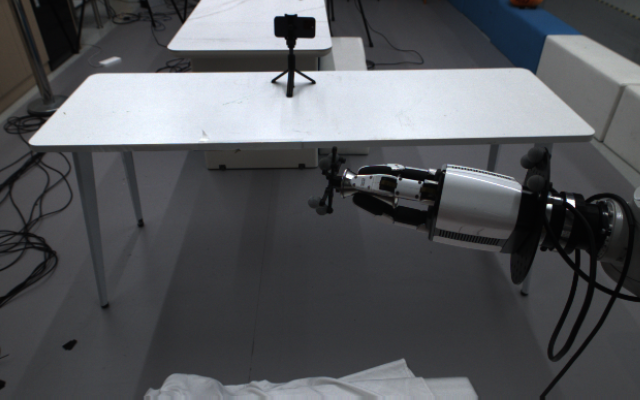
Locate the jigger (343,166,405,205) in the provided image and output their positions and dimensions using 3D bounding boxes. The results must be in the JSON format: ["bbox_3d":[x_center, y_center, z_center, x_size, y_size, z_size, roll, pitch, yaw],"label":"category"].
[{"bbox_3d":[0.069,-0.020,0.602,0.071,0.043,0.043,10,35,16],"label":"jigger"}]
